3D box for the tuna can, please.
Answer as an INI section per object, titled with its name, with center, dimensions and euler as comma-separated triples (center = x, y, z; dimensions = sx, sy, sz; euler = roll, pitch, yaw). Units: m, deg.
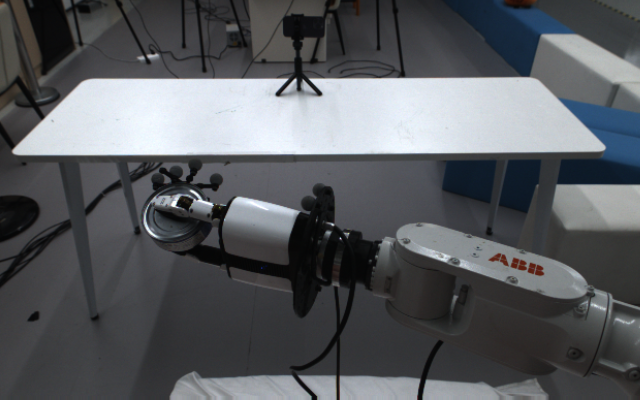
[tuna can]
center = -0.177, 0.024, 0.619
dimensions = 0.085, 0.034, 0.085
euler = -1, 57, 2
